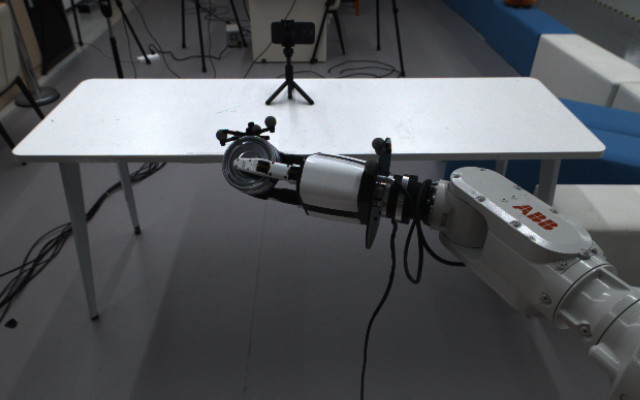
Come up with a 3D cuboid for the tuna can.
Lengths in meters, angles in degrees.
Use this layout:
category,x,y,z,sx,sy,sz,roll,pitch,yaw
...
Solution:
category,x,y,z,sx,sy,sz,roll,pitch,yaw
tuna can,-0.098,-0.046,0.718,0.085,0.085,0.034,12,-6,14
